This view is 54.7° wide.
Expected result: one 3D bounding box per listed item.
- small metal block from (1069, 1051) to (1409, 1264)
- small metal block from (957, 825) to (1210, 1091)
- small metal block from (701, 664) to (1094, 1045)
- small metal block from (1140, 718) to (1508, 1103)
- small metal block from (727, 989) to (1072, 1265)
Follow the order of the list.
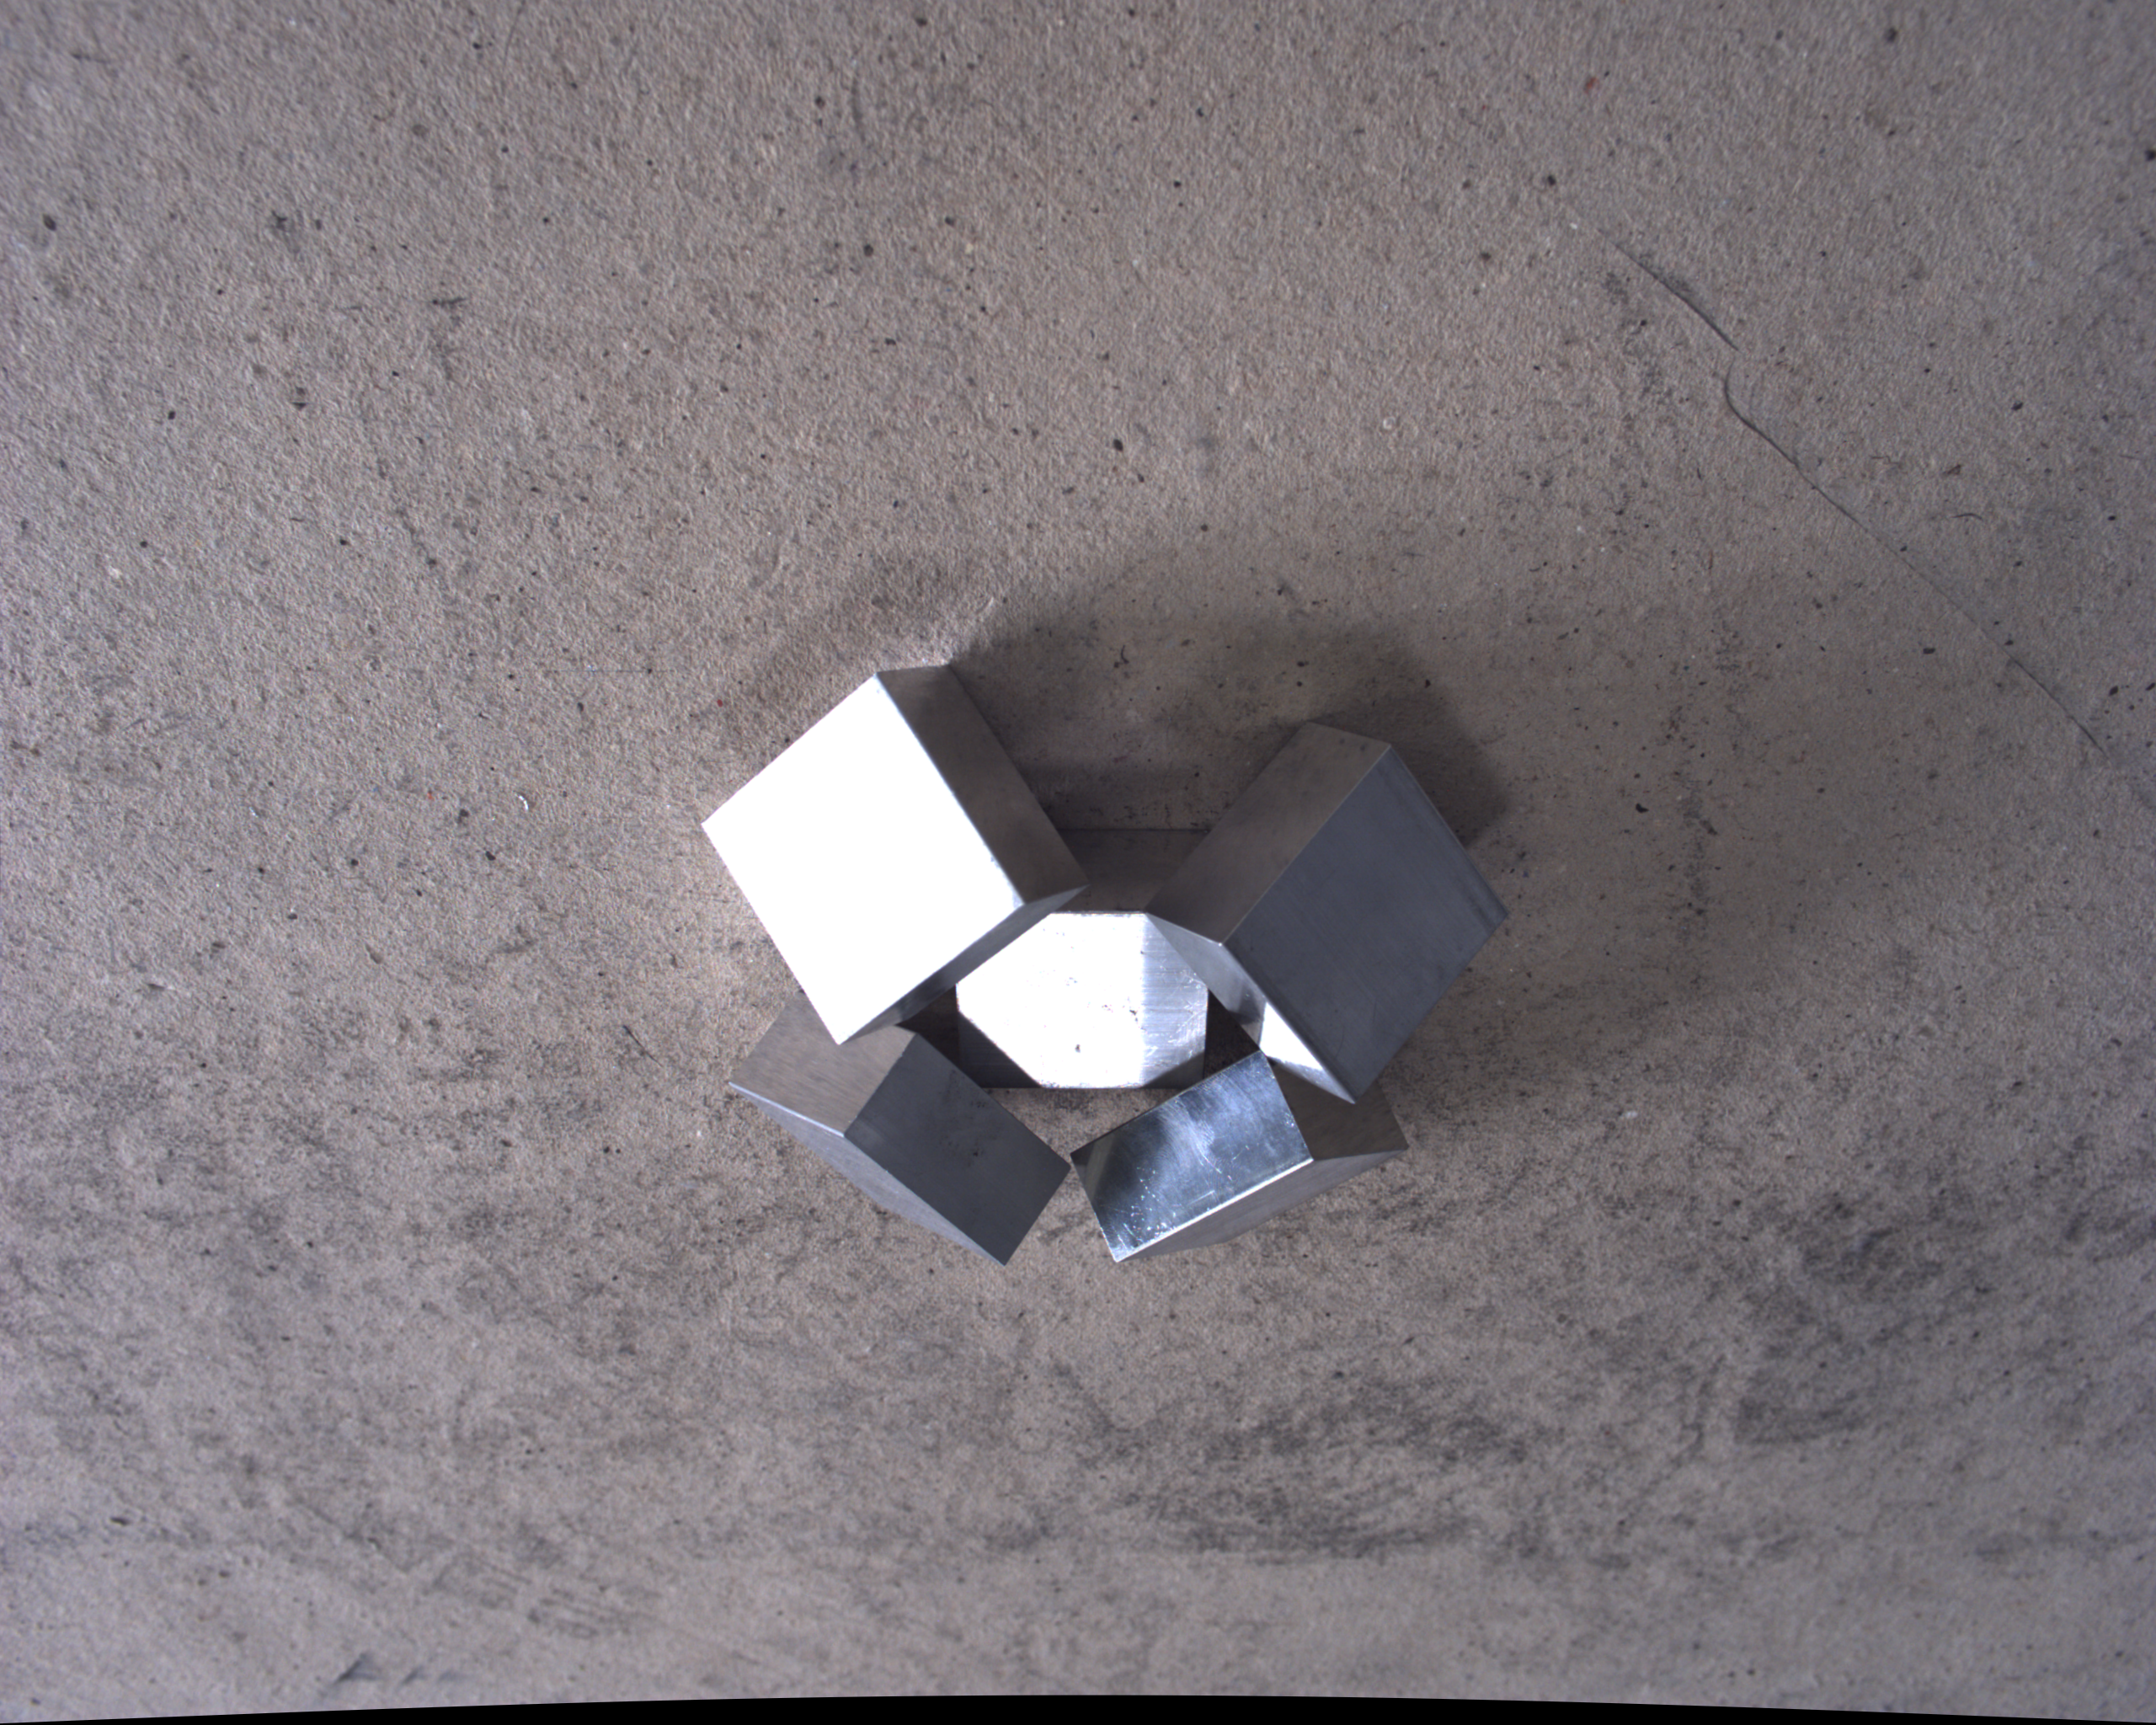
[{"bbox_3d":[0.035,0.061,0.445,0.050,0.025,0.050,-33,161,25],"label":"small metal block"},{"bbox_3d":[0.001,0.020,0.426,0.050,0.025,0.050,-1,130,-1],"label":"small metal block"},{"bbox_3d":[-0.034,-0.002,0.390,0.050,0.025,0.050,-37,80,26],"label":"small metal block"},{"bbox_3d":[0.048,0.009,0.401,0.050,0.025,0.050,-50,125,-13],"label":"small metal block"},{"bbox_3d":[-0.038,0.055,0.438,0.050,0.025,0.050,45,161,-31],"label":"small metal block"}]
